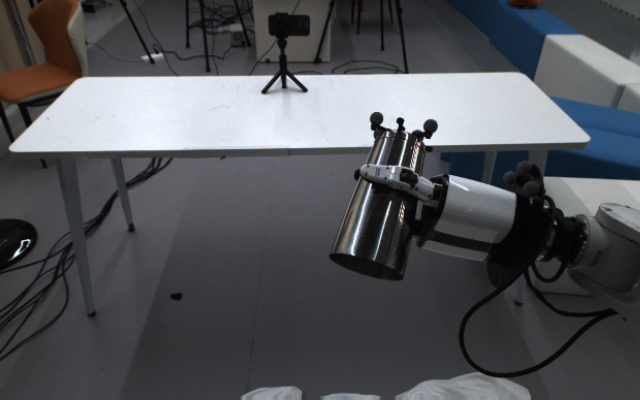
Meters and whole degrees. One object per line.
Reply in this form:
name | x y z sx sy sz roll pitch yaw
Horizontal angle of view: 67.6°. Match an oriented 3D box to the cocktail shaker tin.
cocktail shaker tin | 0.078 0.003 0.595 0.093 0.093 0.170 13 70 15
